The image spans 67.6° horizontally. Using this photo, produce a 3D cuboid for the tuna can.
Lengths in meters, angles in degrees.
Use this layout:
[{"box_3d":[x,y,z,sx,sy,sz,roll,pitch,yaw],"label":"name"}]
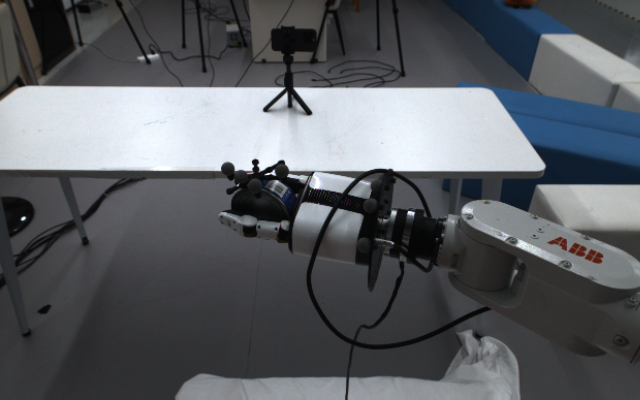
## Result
[{"box_3d":[-0.070,0.009,0.644,0.085,0.085,0.034,14,40,16],"label":"tuna can"}]
